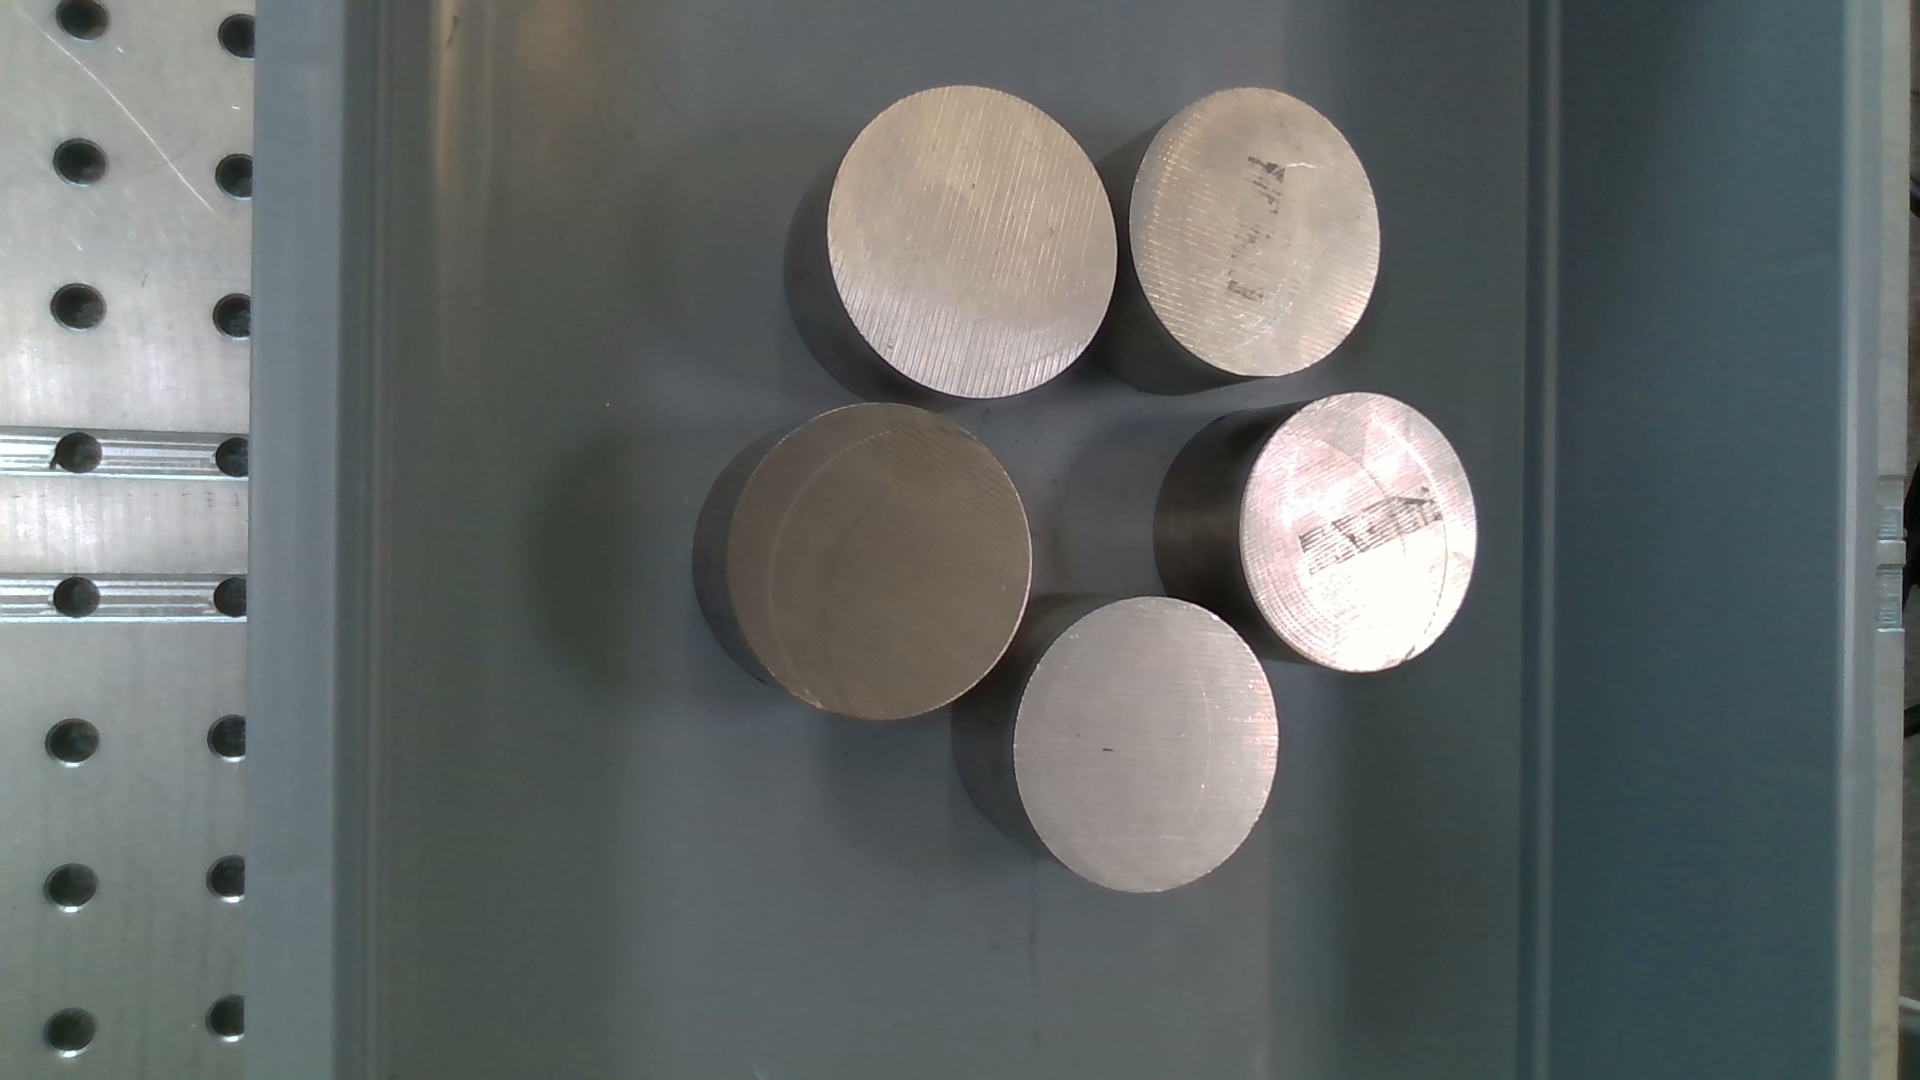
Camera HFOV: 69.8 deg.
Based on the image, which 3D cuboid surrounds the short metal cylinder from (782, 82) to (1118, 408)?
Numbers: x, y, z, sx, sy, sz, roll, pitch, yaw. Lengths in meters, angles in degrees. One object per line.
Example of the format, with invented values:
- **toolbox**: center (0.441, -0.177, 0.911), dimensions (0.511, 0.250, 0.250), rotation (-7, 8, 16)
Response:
- **short metal cylinder**: center (-0.004, -0.077, 0.377), dimensions (0.080, 0.050, 0.080), rotation (0, 90, -20)

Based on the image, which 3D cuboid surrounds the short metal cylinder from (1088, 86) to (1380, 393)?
- **short metal cylinder**: center (0.075, -0.086, 0.406), dimensions (0.080, 0.050, 0.080), rotation (0, 90, -20)

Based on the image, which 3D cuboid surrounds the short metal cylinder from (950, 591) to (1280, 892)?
- **short metal cylinder**: center (0.043, 0.055, 0.395), dimensions (0.080, 0.050, 0.080), rotation (0, 90, -20)

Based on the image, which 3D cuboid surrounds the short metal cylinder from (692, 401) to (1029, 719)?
- **short metal cylinder**: center (-0.028, 0.005, 0.369), dimensions (0.080, 0.050, 0.080), rotation (0, 90, -20)

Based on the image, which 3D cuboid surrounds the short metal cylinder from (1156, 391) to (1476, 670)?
- **short metal cylinder**: center (0.107, -0.003, 0.418), dimensions (0.080, 0.050, 0.080), rotation (0, 90, -20)
